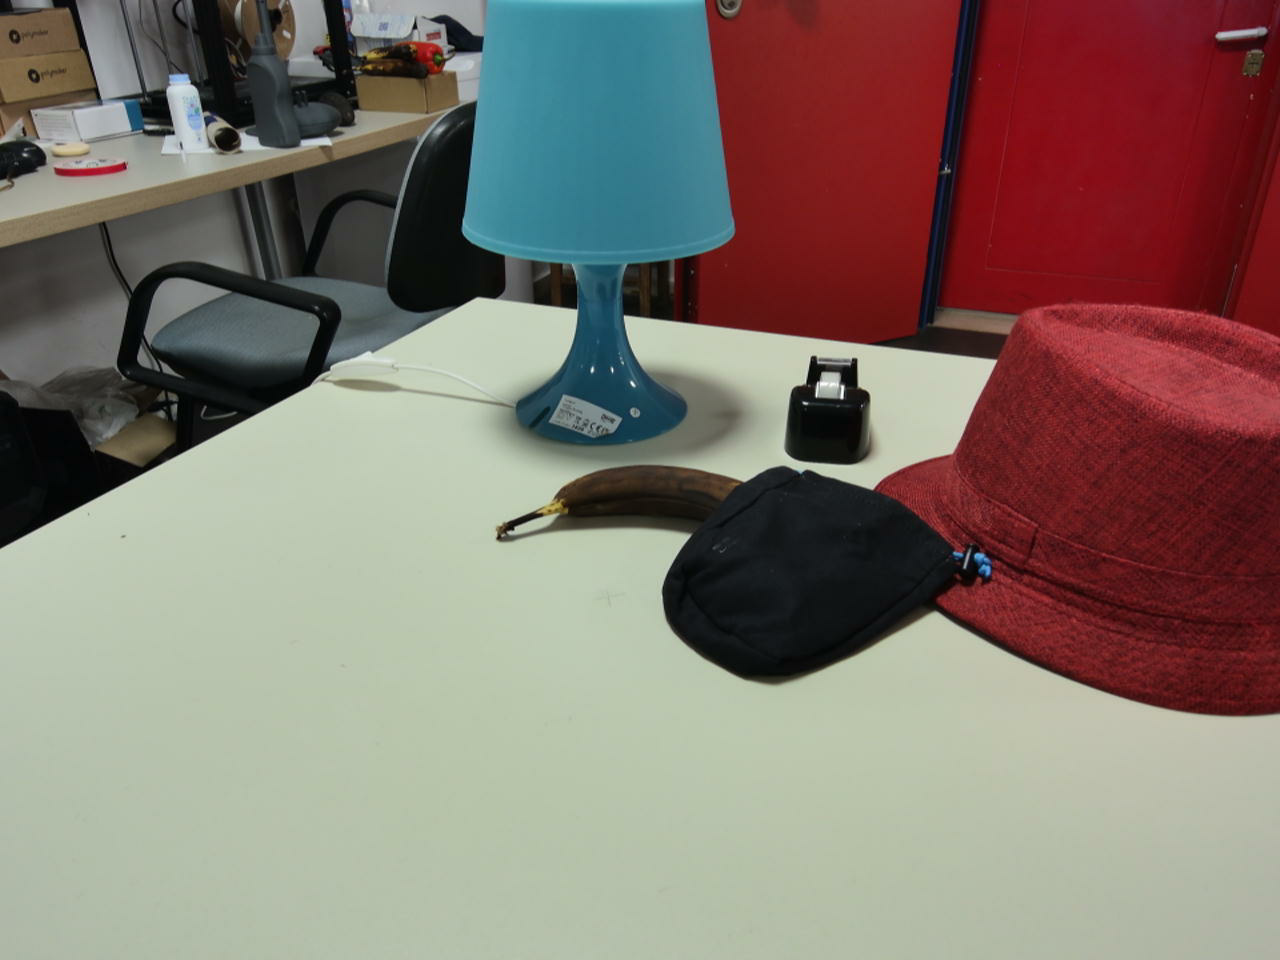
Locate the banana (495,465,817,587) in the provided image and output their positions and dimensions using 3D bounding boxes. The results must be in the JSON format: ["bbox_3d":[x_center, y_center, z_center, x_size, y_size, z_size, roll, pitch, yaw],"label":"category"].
[{"bbox_3d":[0.017,0.019,0.588,0.188,0.034,0.091,11,28,23],"label":"banana"}]
